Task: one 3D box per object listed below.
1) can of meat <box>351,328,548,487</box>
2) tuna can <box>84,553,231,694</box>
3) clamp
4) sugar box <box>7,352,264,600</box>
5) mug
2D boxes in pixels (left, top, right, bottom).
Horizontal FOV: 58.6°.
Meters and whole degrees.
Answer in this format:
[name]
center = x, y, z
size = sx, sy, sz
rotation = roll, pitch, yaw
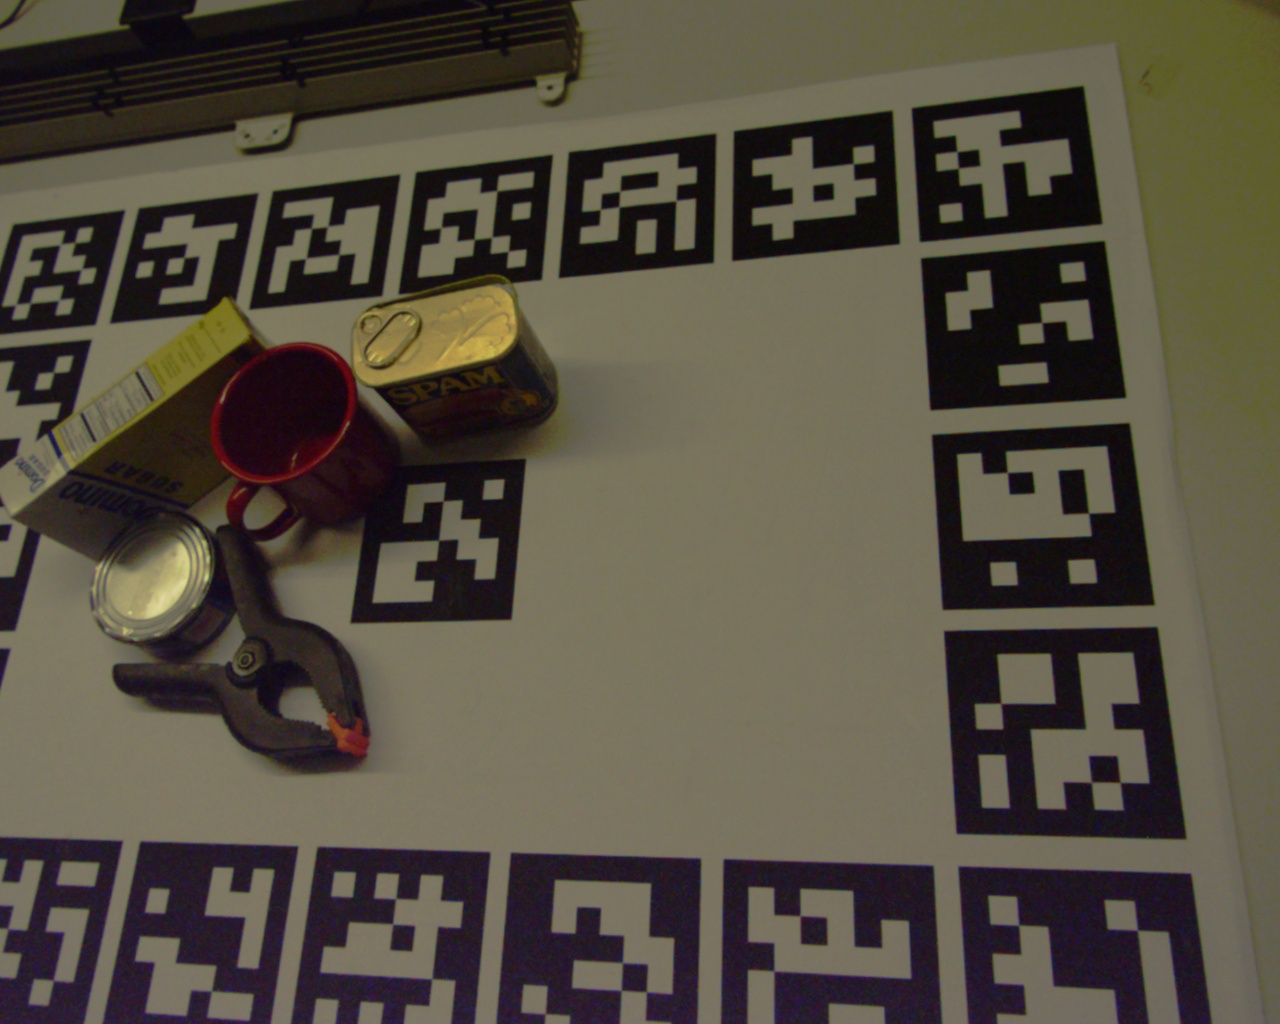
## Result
[can of meat]
center = -0.114, -0.061, 0.702
size = 0.102, 0.083, 0.058
rotation = -11, 66, 9
[tuna can]
center = -0.304, 0.071, 0.721
size = 0.086, 0.033, 0.086
rotation = -5, 70, 13
[clamp]
center = -0.229, 0.120, 0.687
size = 0.166, 0.036, 0.121
rotation = 33, 76, 19
[sugar box]
center = -0.304, -0.019, 0.731
size = 0.176, 0.092, 0.046
rotation = -38, 64, -4
[mug]
center = -0.214, -0.011, 0.701
size = 0.094, 0.081, 0.117
rotation = 22, 78, 20
